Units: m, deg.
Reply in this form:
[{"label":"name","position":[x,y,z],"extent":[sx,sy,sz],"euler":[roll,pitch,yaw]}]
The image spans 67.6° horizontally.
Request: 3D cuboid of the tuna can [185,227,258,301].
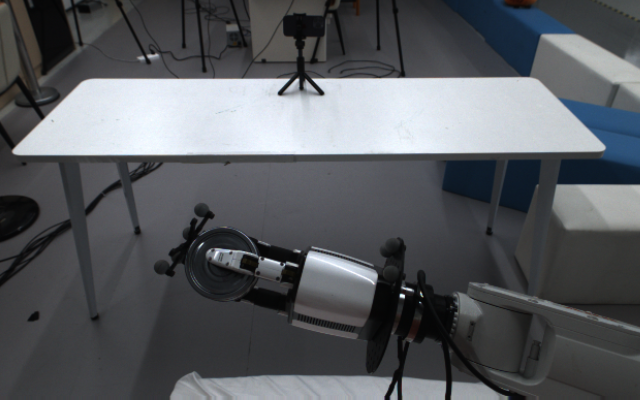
[{"label":"tuna can","position":[-0.108,0.079,0.561],"extent":[0.085,0.034,0.085],"euler":[1,76,-5]}]
